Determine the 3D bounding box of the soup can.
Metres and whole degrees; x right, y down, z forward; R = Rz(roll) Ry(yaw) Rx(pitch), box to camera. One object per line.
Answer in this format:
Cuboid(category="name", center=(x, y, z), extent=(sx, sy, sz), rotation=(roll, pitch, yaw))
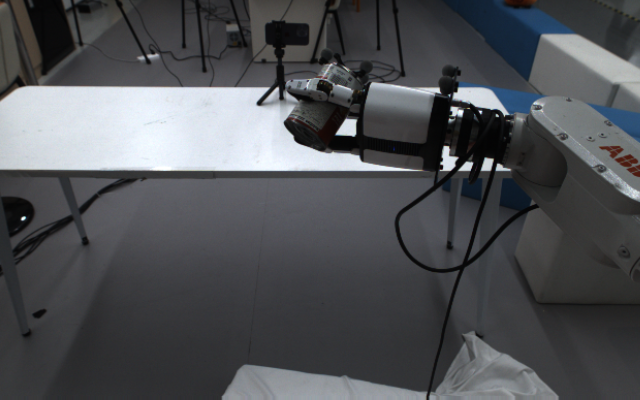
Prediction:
Cuboid(category="soup can", center=(0.006, -0.127, 0.661), extent=(0.067, 0.067, 0.101), rotation=(27, 78, 31))
